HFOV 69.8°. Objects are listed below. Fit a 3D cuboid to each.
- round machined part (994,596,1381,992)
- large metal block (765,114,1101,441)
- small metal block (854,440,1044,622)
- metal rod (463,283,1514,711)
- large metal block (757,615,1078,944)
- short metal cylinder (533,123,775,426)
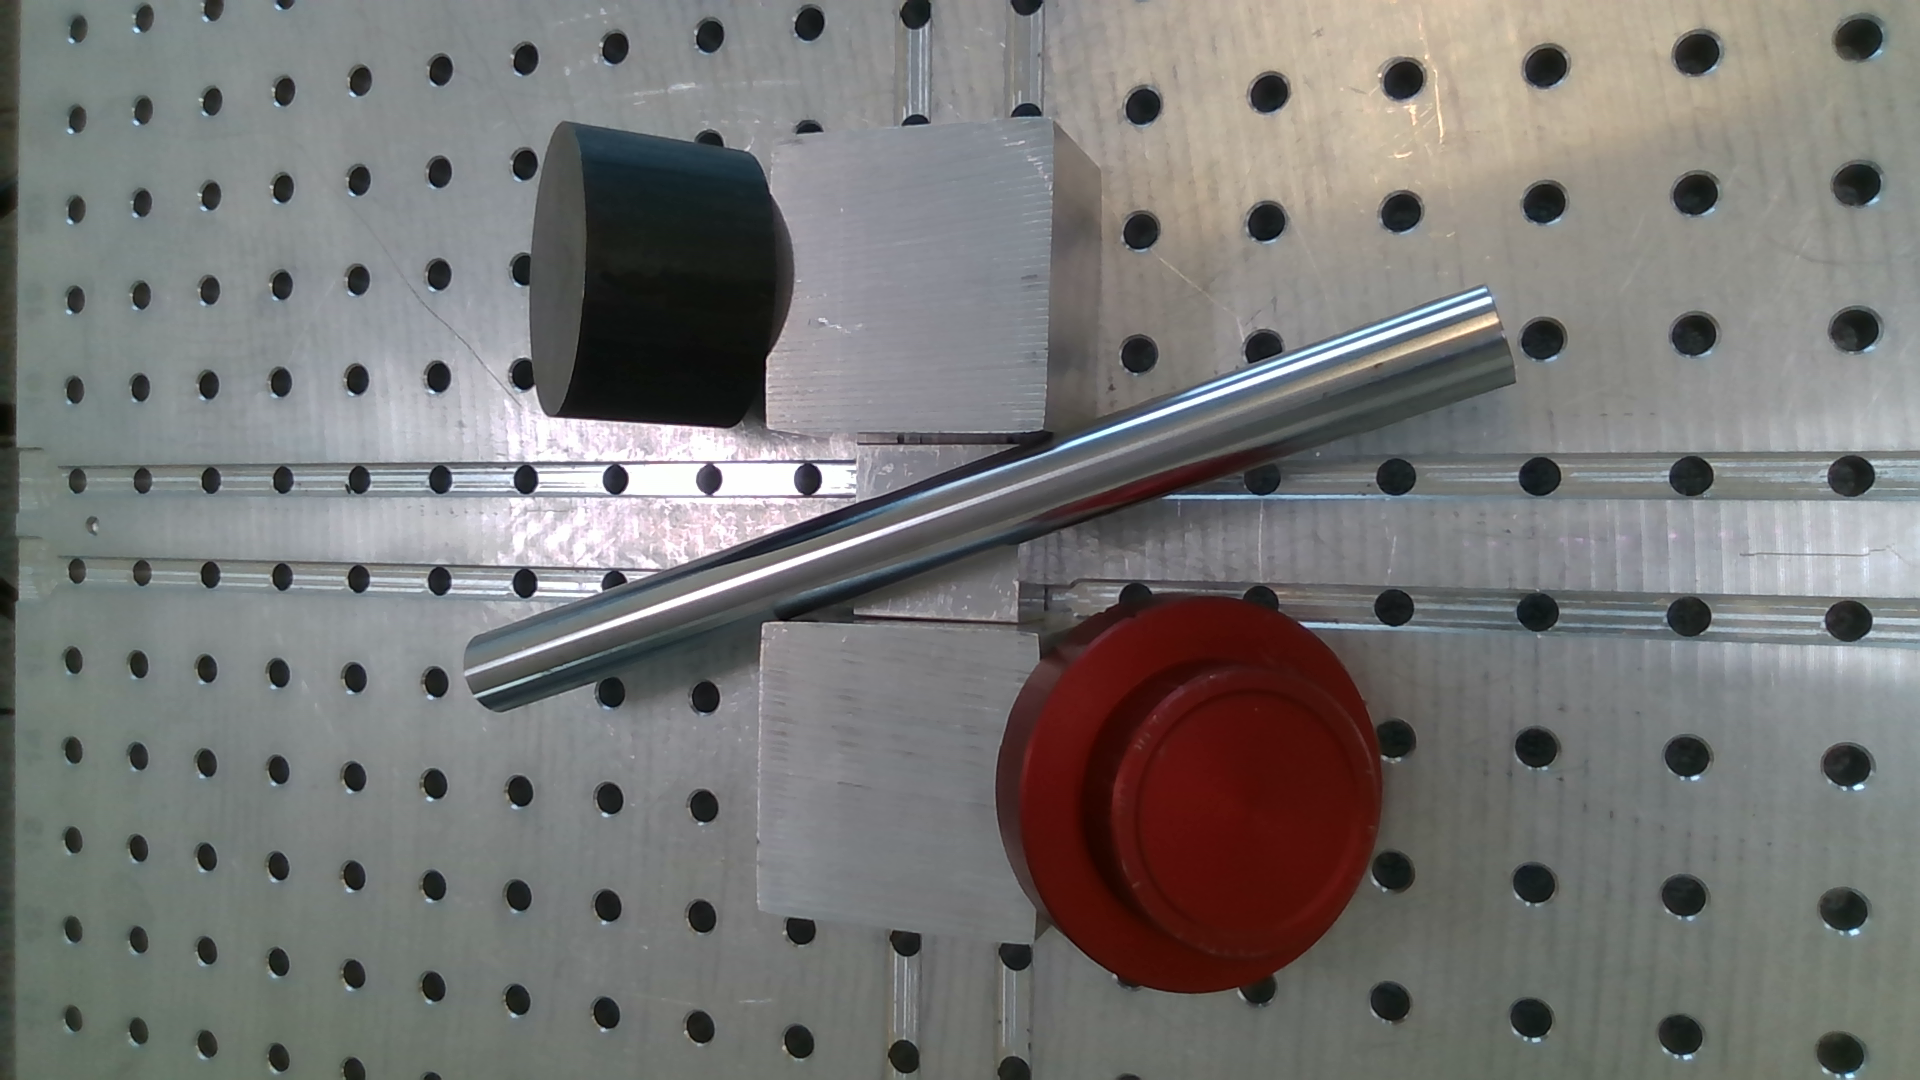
[{"bbox_3d":[0.061,0.063,0.339,0.098,0.042,0.098,0,91,-15],"label":"round machined part"},{"bbox_3d":[-0.006,-0.069,0.386,0.080,0.050,0.080,2,91,20],"label":"large metal block"},{"bbox_3d":[-0.002,-0.003,0.398,0.050,0.025,0.050,1,91,20],"label":"small metal block"},{"bbox_3d":[-0.009,-0.004,0.372,0.300,0.025,0.025,-18,84,19],"label":"metal rod"},{"bbox_3d":[-0.009,0.063,0.388,0.080,0.050,0.080,1,91,20],"label":"large metal block"},{"bbox_3d":[-0.090,-0.074,0.393,0.080,0.050,0.080,-5,85,63],"label":"short metal cylinder"}]
